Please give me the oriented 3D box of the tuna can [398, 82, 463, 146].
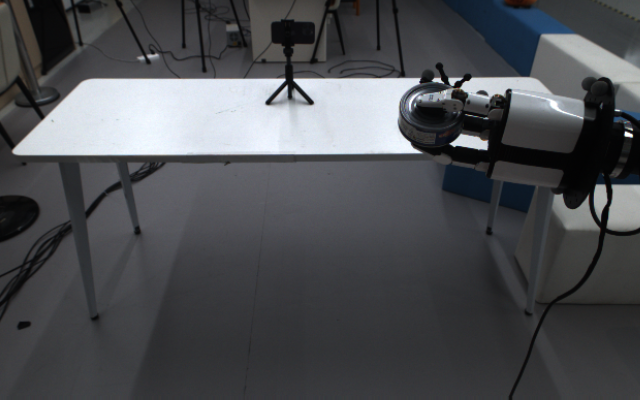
[{"bbox_3d":[0.147,-0.114,0.632,0.085,0.034,0.085,-4,58,6],"label":"tuna can"}]
